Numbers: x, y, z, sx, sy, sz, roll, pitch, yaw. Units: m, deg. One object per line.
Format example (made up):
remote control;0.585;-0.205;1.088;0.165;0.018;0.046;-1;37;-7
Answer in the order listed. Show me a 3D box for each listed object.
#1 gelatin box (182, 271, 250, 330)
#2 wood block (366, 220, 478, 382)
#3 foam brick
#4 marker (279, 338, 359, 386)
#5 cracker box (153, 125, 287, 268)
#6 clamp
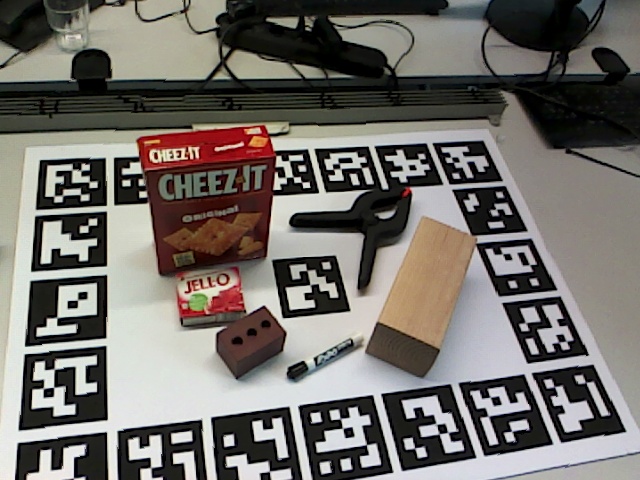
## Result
gelatin box;-0.149;0.085;0.879;0.089;0.030;0.073;-6;57;-13
wood block;0.148;0.083;0.890;0.090;0.091;0.206;22;52;10
foam brick;-0.092;0.141;0.831;0.078;0.051;0.053;-27;65;-25
marker;-0.001;0.167;0.845;0.120;0.019;0.020;-23;63;-23
cracker box;-0.140;-0.055;0.858;0.163;0.213;0.072;-7;55;-16
clamp;0.080;-0.023;0.985;0.202;0.036;0.166;-34;66;-27
